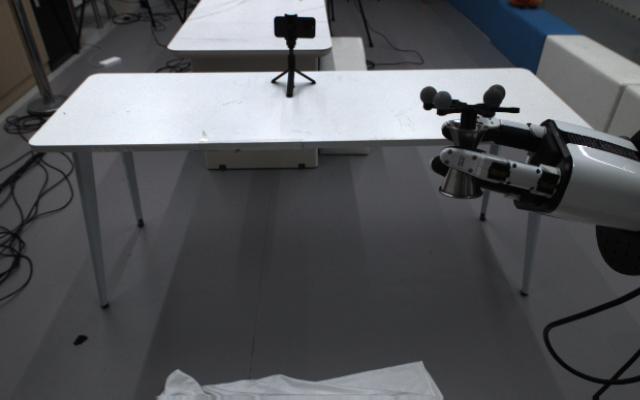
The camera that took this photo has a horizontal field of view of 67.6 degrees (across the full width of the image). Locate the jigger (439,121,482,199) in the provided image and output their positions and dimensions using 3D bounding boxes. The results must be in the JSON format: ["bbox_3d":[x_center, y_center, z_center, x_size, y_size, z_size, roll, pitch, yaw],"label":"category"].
[{"bbox_3d":[0.143,-0.040,0.485,0.043,0.071,0.043,0,21,0],"label":"jigger"}]
